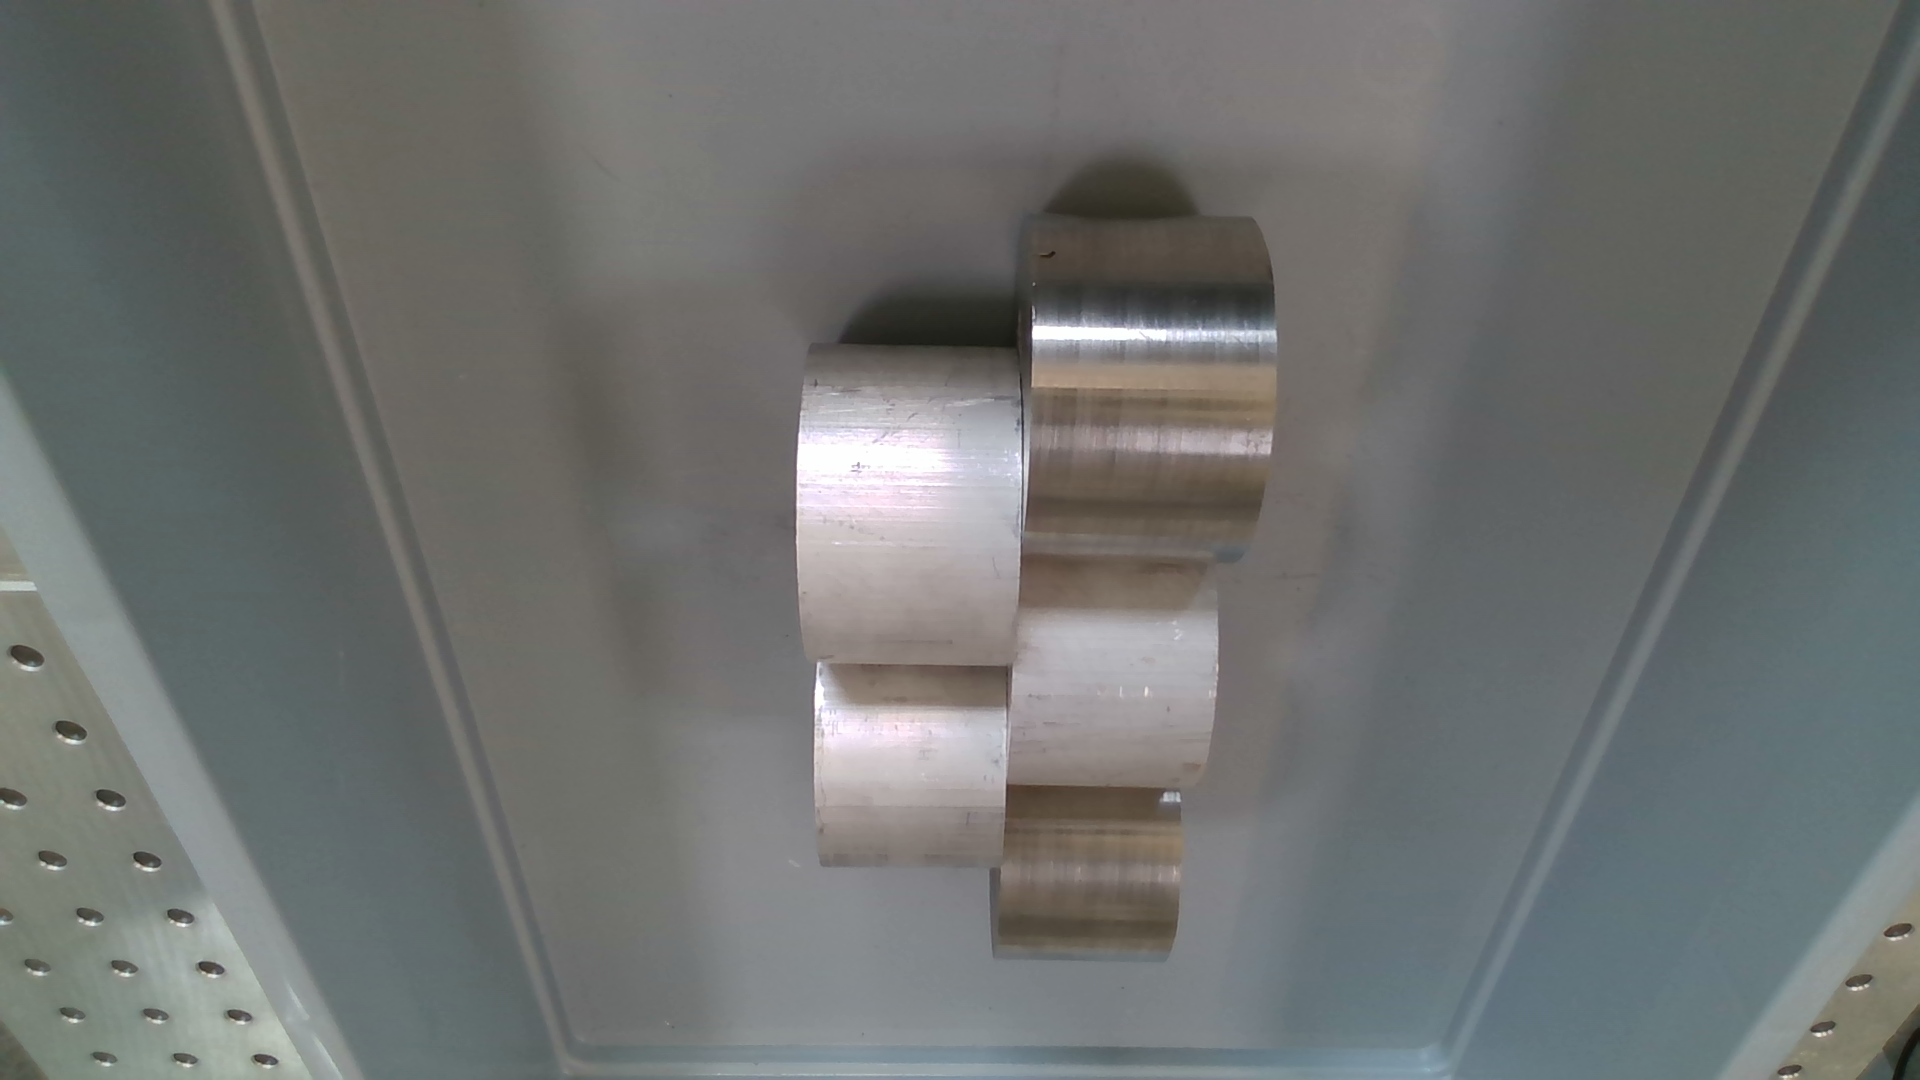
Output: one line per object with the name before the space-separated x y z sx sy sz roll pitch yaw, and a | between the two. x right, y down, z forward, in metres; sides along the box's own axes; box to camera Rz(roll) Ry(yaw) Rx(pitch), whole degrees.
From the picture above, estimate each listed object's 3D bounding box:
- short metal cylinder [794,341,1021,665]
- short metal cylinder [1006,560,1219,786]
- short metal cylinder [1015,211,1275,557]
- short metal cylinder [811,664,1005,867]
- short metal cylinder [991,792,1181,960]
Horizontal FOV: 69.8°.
short metal cylinder | -0.012 -0.009 0.344 0.050 0.080 0.080 1 130 0
short metal cylinder | 0.037 0.026 0.373 0.050 0.080 0.080 1 130 0
short metal cylinder | 0.039 -0.036 0.321 0.050 0.080 0.080 1 130 0
short metal cylinder | -0.014 0.053 0.396 0.050 0.080 0.080 1 130 0
short metal cylinder | 0.036 0.088 0.426 0.050 0.080 0.080 1 130 -1
